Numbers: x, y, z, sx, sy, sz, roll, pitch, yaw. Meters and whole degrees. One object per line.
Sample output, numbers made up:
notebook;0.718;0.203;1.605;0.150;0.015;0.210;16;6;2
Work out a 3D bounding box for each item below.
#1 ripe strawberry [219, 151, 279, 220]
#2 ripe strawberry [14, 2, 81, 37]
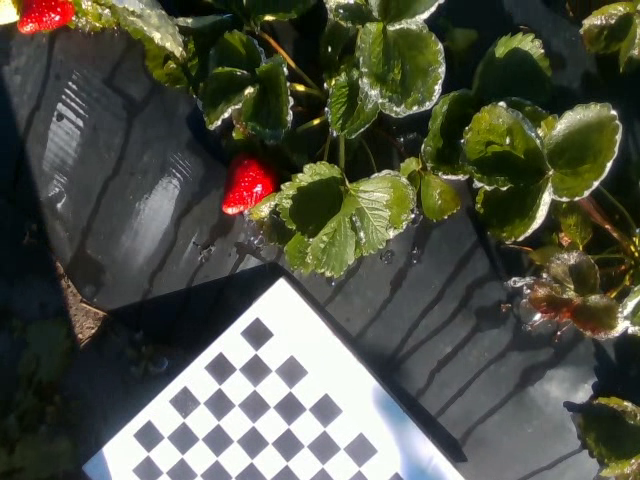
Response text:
ripe strawberry;-0.055;-0.038;0.433;0.053;0.041;0.047;-48;-3;-31
ripe strawberry;-0.204;-0.167;0.443;0.037;0.051;0.040;33;-41;4
